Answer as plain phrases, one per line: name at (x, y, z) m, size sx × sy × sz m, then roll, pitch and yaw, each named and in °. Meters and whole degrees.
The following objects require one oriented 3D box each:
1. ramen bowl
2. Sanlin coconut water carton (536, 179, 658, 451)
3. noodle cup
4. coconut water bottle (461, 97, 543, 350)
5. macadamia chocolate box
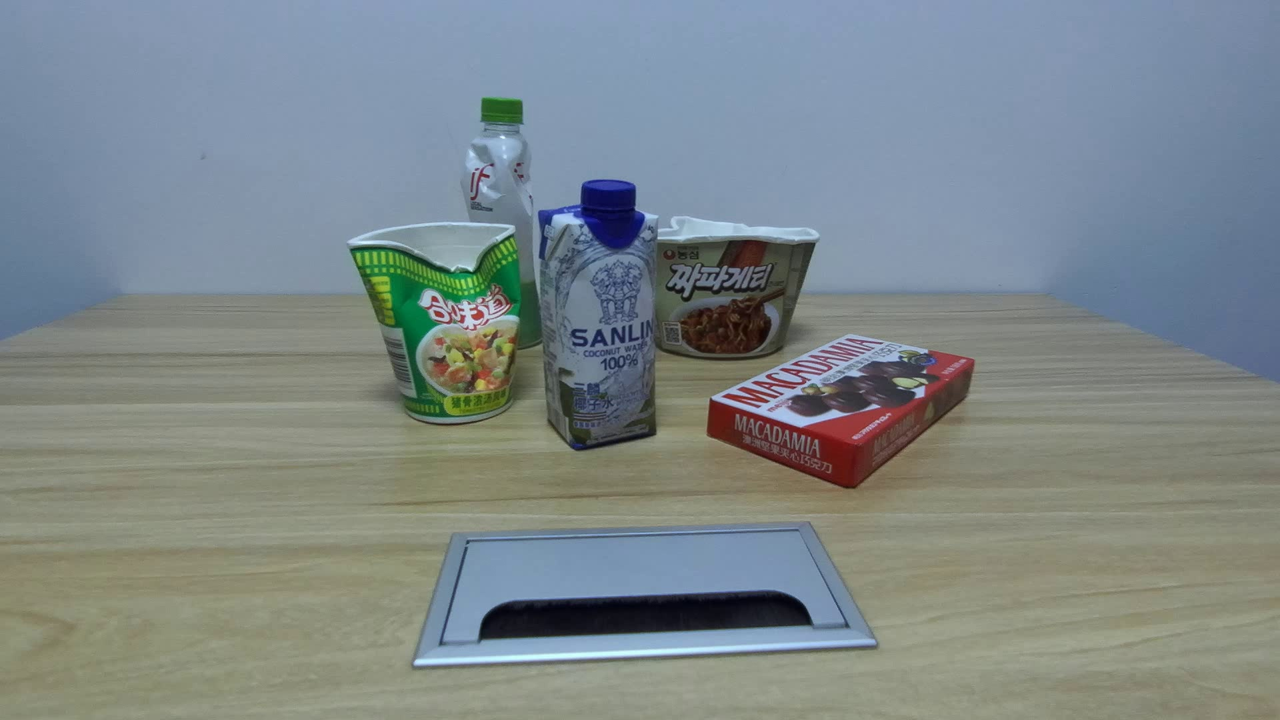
ramen bowl at (0.074, -0.061, 0.573) m, size 0.133 × 0.097 × 0.113 m, roll 4°, pitch 19°, yaw 9°
Sanlin coconut water carton at (-0.023, -0.026, 0.400) m, size 0.061 × 0.144 × 0.060 m, roll -9°, pitch 20°, yaw -27°
noodle cup at (-0.116, -0.026, 0.442) m, size 0.083 × 0.122 × 0.075 m, roll -7°, pitch 12°, yaw 4°
coconut water bottle at (-0.106, -0.105, 0.551) m, size 0.067 × 0.187 × 0.067 m, roll 1°, pitch 15°, yaw 0°
macadamia chocolate box at (0.132, 0.023, 0.443) m, size 0.095 × 0.027 × 0.178 m, roll 17°, pitch 24°, yaw 39°
